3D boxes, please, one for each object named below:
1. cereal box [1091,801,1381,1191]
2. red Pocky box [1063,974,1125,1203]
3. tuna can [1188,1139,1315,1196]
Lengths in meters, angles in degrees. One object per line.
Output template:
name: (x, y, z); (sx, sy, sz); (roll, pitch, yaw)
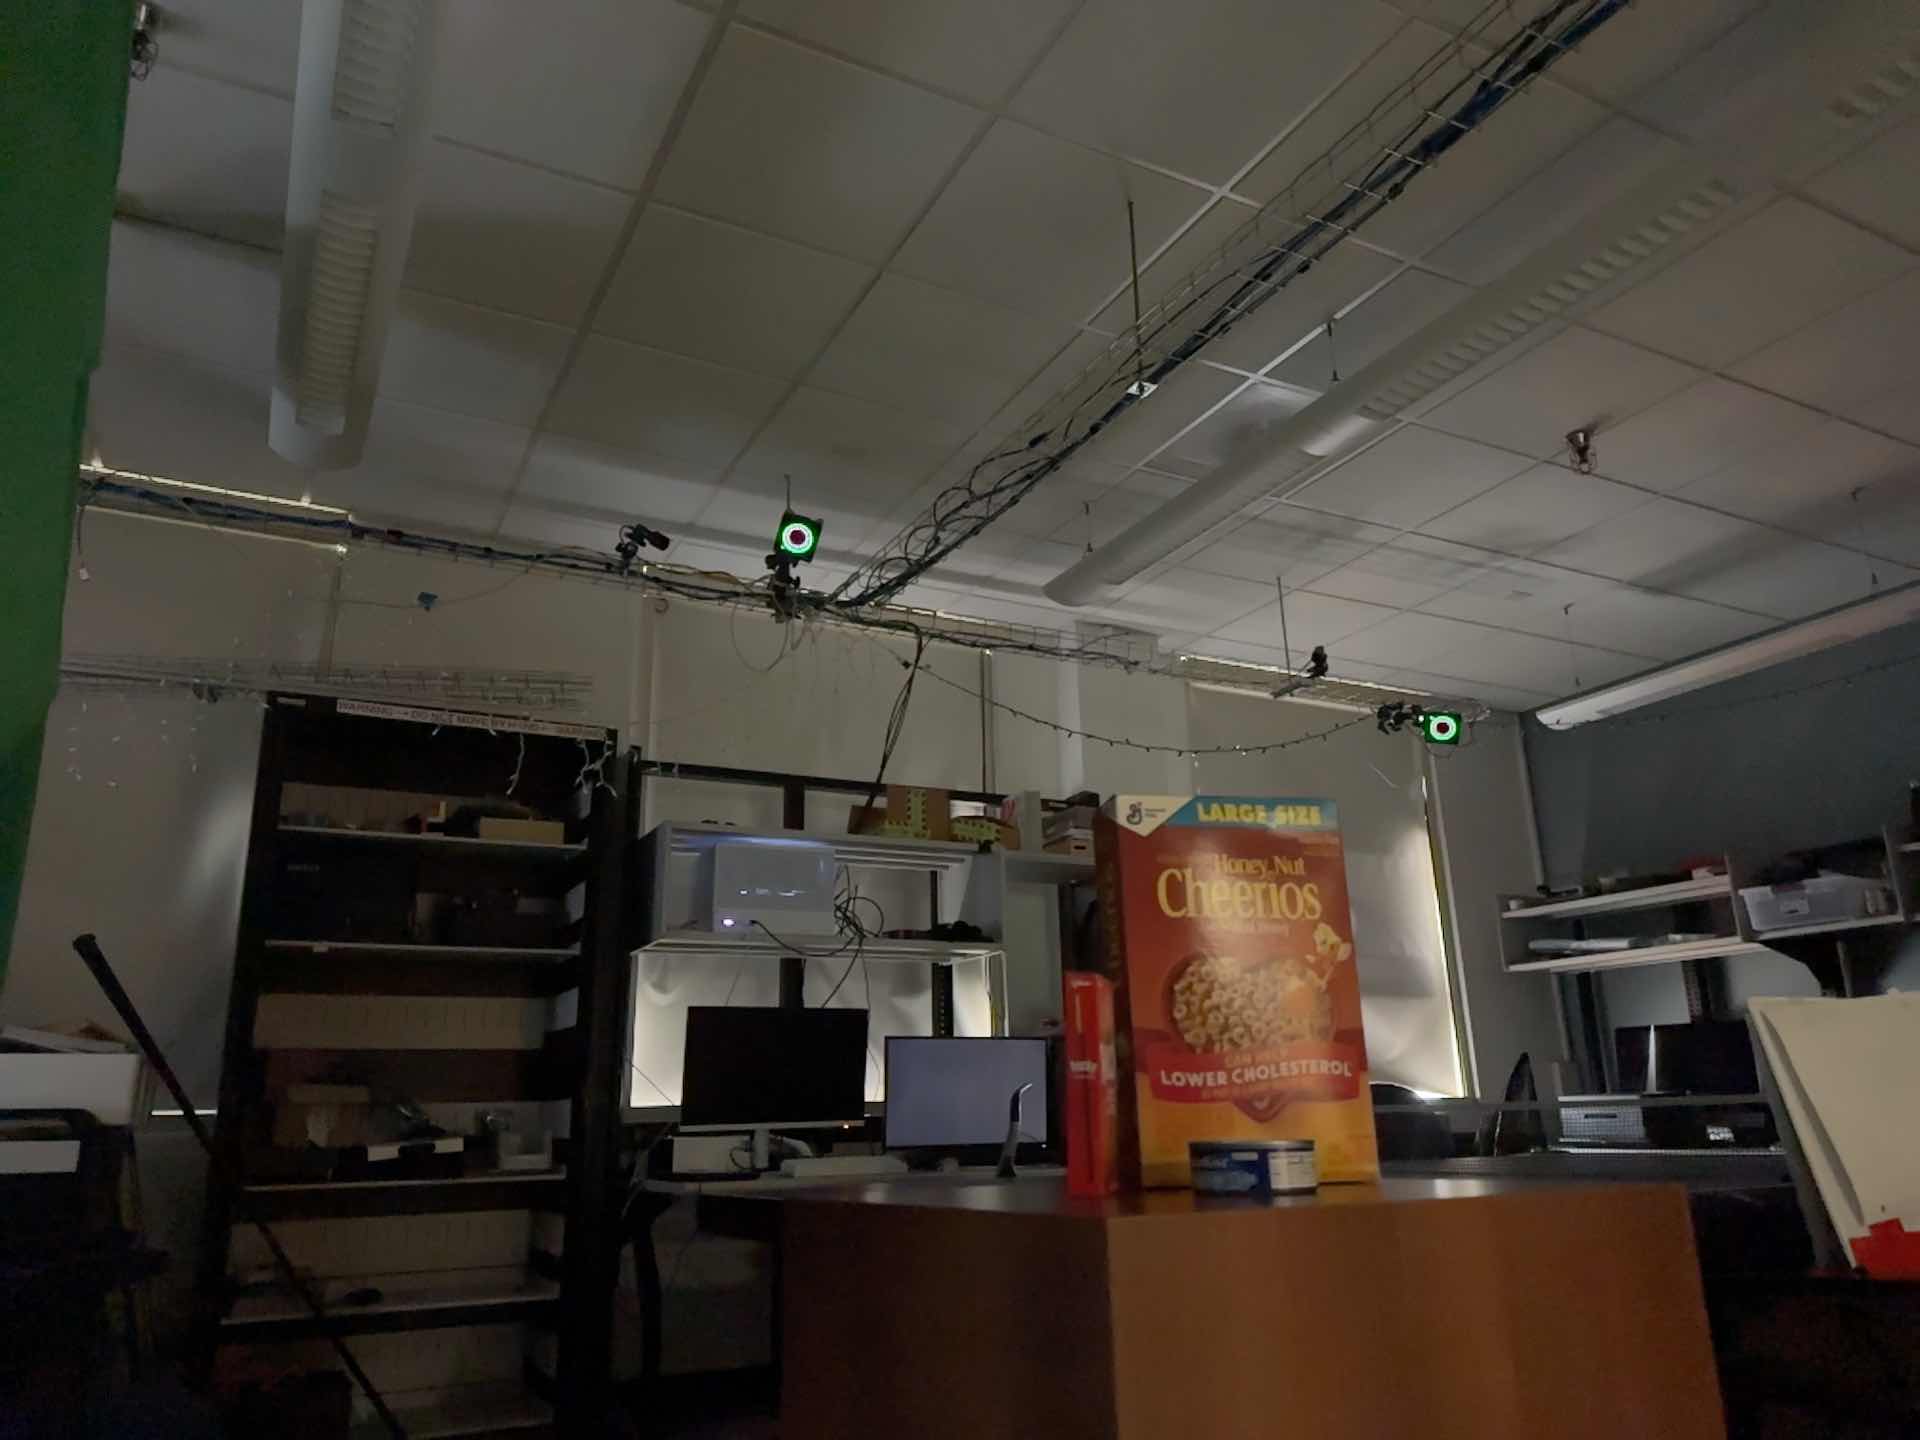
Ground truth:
cereal box: (0.221, 0.220, 1.100); (0.195, 0.297, 0.065); (3, -17, -14)
red Pocky box: (0.096, 0.264, 0.968); (0.028, 0.155, 0.083); (-5, -16, 15)
tuna can: (0.201, 0.308, 0.928); (0.083, 0.034, 0.083); (-1, -16, 0)
